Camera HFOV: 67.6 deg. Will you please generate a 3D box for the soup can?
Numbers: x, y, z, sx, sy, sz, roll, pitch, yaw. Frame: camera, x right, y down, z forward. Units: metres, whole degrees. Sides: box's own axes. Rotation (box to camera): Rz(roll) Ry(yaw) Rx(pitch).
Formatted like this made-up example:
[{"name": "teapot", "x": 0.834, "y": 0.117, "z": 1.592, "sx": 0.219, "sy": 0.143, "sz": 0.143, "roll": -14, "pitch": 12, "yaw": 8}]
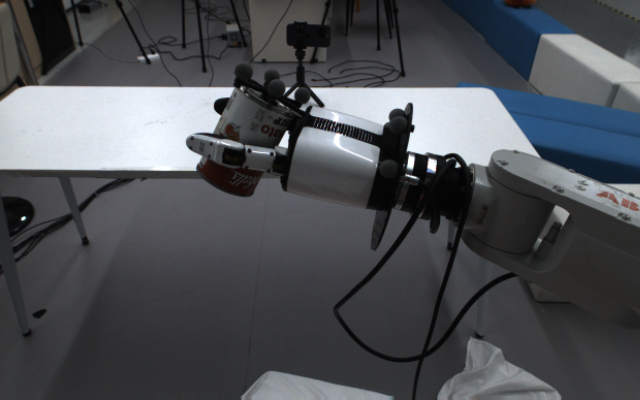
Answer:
[{"name": "soup can", "x": -0.077, "y": -0.063, "z": 0.509, "sx": 0.067, "sy": 0.101, "sz": 0.067, "roll": 27, "pitch": 18, "yaw": -9}]
